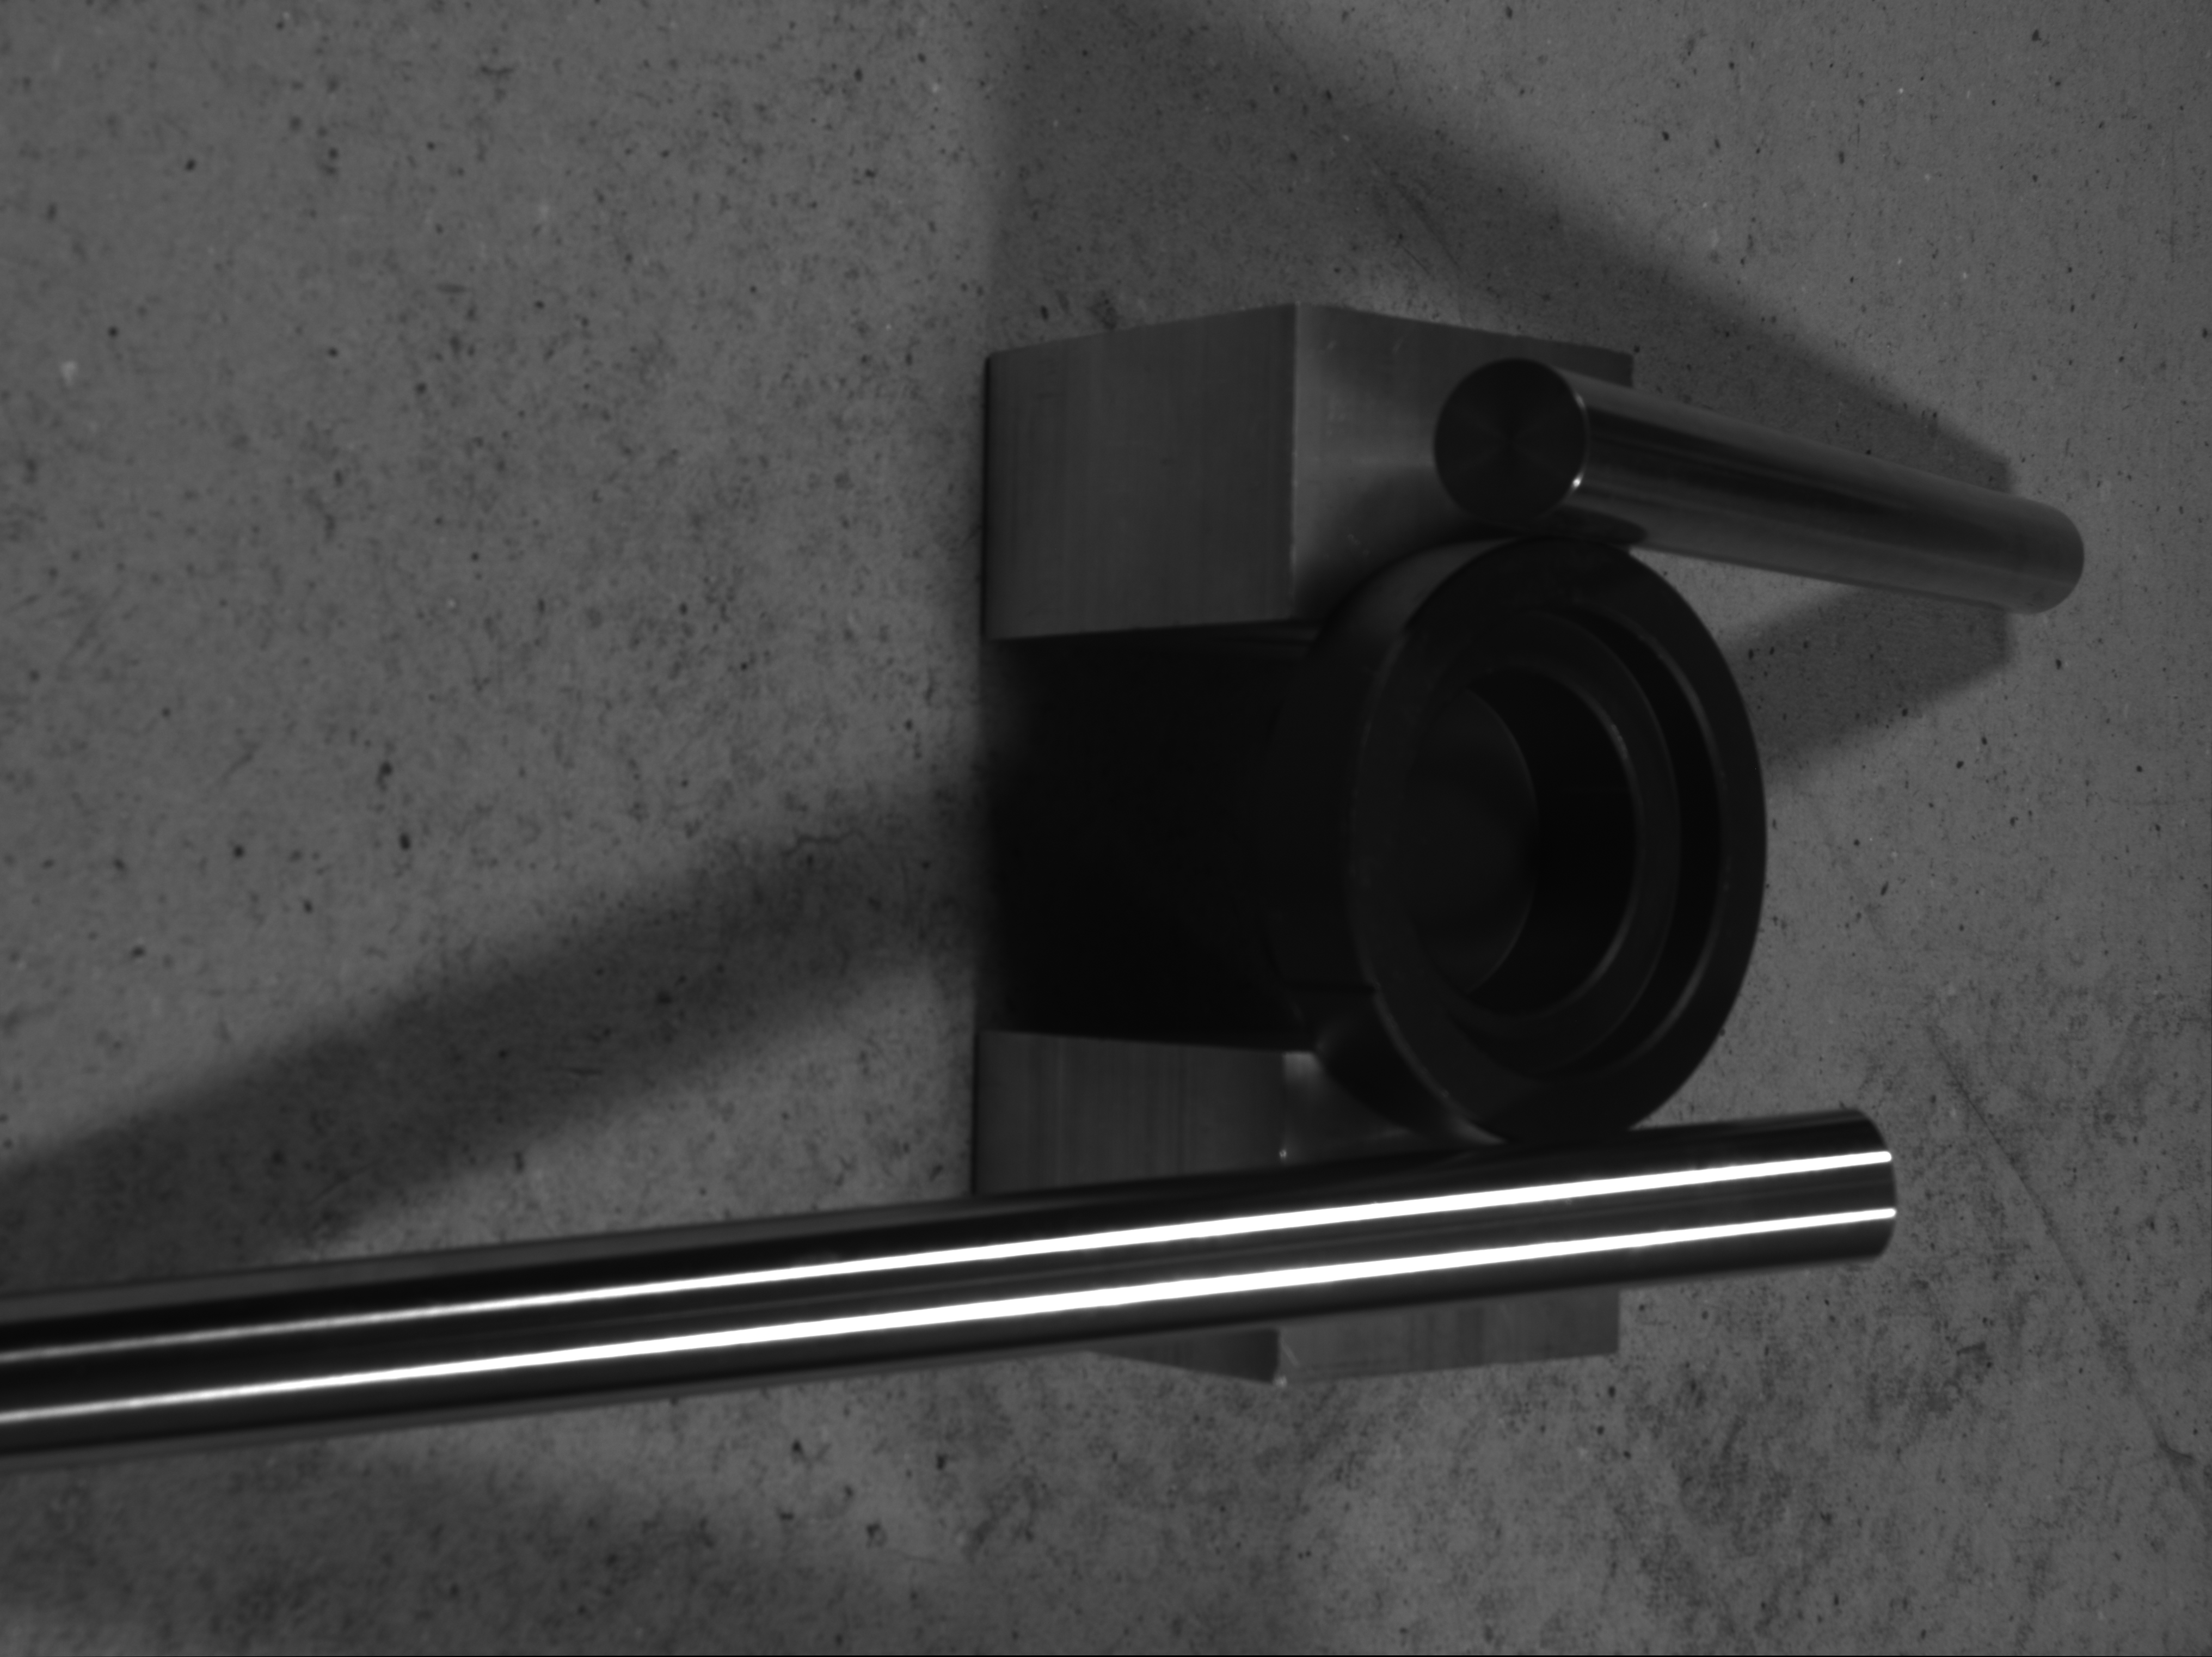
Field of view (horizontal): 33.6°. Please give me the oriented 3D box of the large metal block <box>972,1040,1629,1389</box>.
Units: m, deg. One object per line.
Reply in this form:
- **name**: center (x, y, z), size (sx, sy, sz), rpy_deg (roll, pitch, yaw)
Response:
- **large metal block**: center (0.033, 0.064, 0.629), size (0.080, 0.080, 0.050), rpy_deg (2, 89, -40)

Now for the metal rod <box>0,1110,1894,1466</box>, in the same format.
- **metal rod**: center (-0.022, 0.067, 0.547), size (0.300, 0.025, 0.025), rpy_deg (-4, 93, -17)

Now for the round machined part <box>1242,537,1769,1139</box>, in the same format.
- **round machined part**: center (0.061, 0.002, 0.601), size (0.098, 0.042, 0.098), rpy_deg (0, 90, -40)

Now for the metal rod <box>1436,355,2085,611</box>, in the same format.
- **metal rod**: center (0.132, -0.059, 0.678), size (0.301, 0.025, 0.025), rpy_deg (-1, 90, -62)

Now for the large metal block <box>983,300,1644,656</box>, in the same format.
- **large metal block**: center (0.035, -0.057, 0.631), size (0.080, 0.080, 0.050), rpy_deg (2, 89, -40)
